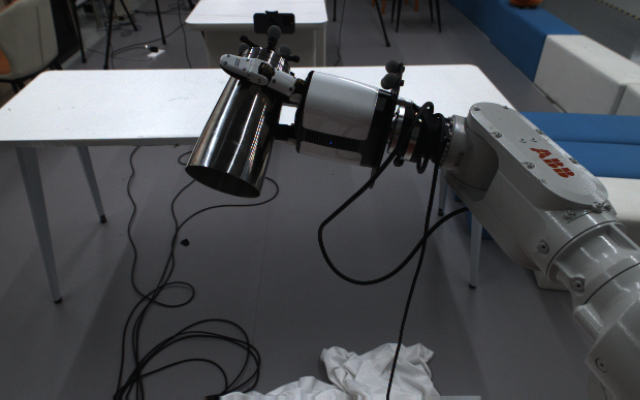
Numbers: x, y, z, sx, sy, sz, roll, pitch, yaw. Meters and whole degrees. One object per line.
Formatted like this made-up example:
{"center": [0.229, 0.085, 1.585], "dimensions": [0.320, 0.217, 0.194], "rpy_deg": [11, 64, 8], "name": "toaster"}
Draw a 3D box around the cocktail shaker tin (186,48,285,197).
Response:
{"center": [-0.091, -0.100, 0.597], "dimensions": [0.093, 0.093, 0.170], "rpy_deg": [12, 72, 14], "name": "cocktail shaker tin"}
